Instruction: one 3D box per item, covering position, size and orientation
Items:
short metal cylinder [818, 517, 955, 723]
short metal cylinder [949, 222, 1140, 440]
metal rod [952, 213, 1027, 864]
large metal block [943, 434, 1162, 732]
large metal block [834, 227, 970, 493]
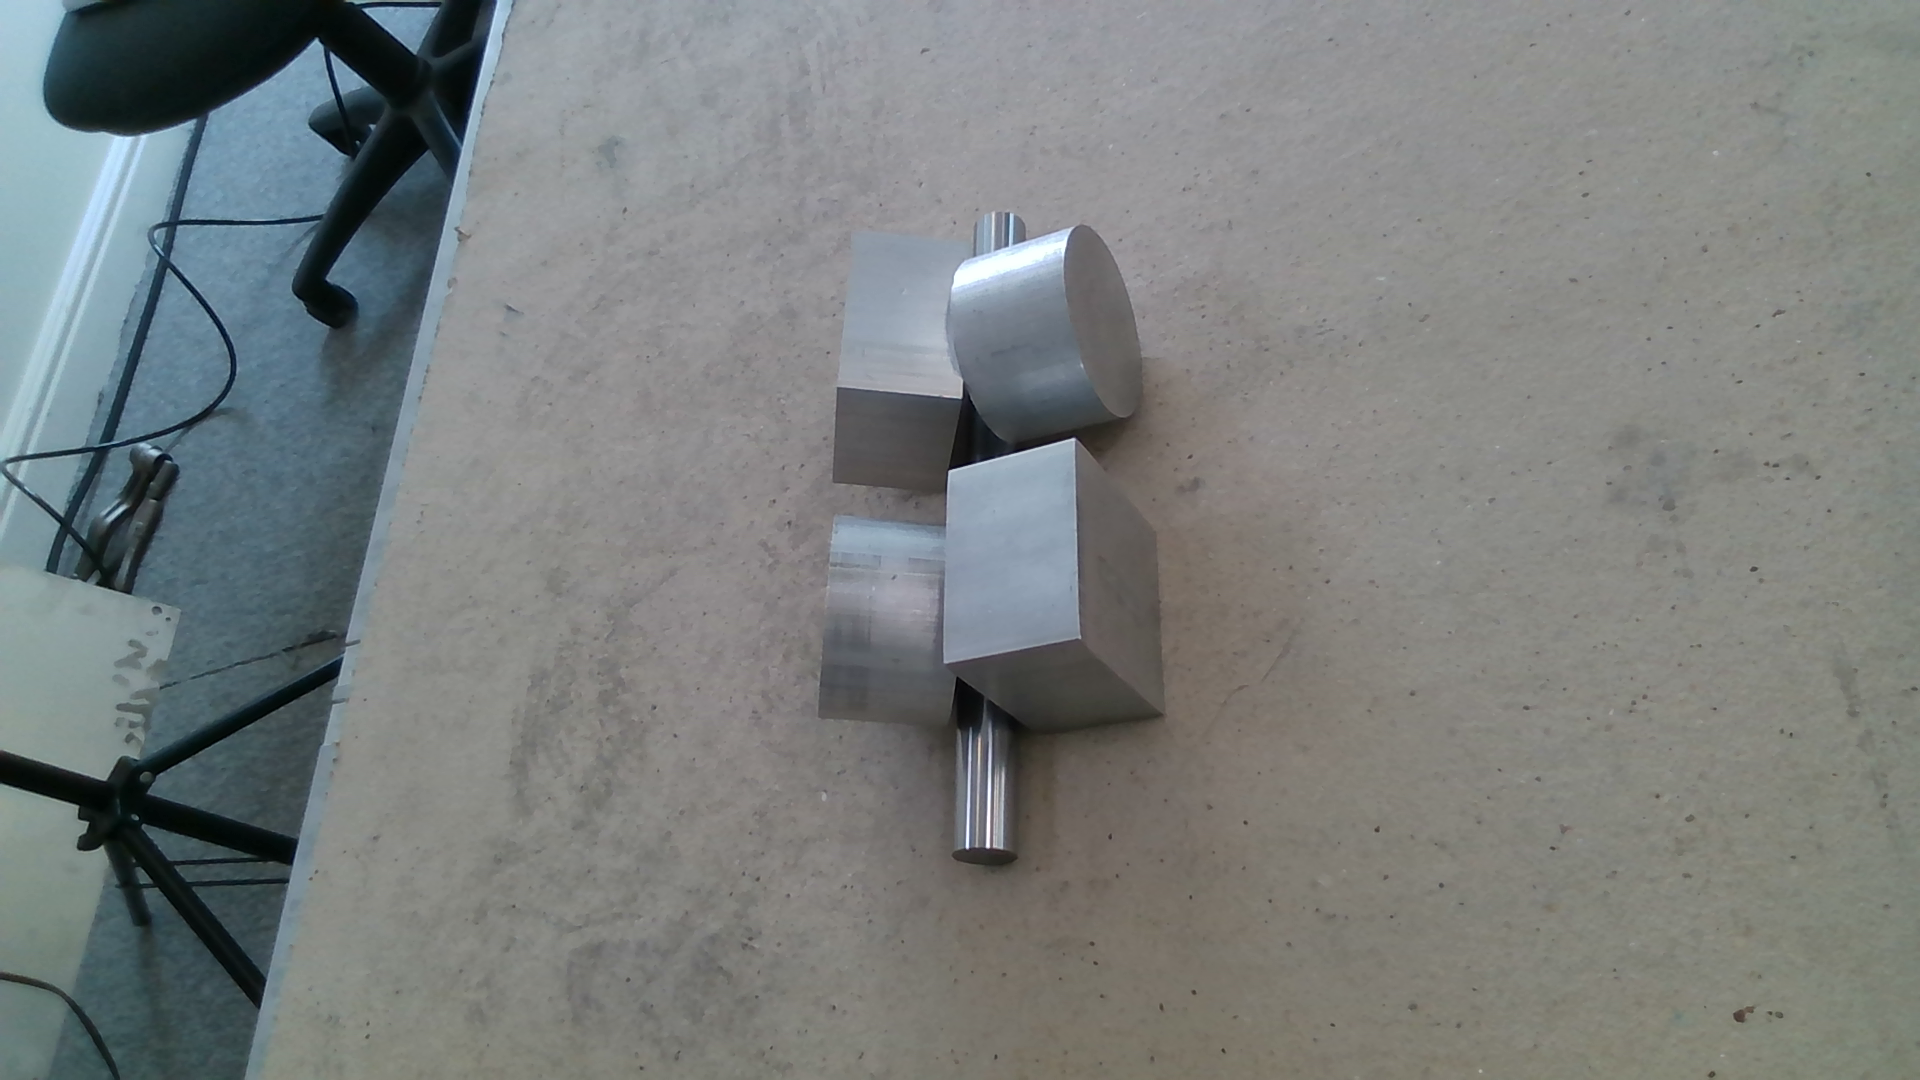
[{"bbox_3d":[-0.028,0.031,0.543,0.050,0.080,0.080,4,63,-5],"label":"short metal cylinder"},{"bbox_3d":[0.037,-0.086,0.573,0.050,0.080,0.080,-11,60,27],"label":"short metal cylinder"},{"bbox_3d":[0.015,-0.014,0.587,0.025,0.025,0.299,-12,60,26],"label":"metal rod"},{"bbox_3d":[0.036,0.019,0.518,0.050,0.080,0.080,-13,59,26],"label":"large metal block"},{"bbox_3d":[-0.026,-0.076,0.599,0.050,0.080,0.080,4,63,-4],"label":"large metal block"}]
